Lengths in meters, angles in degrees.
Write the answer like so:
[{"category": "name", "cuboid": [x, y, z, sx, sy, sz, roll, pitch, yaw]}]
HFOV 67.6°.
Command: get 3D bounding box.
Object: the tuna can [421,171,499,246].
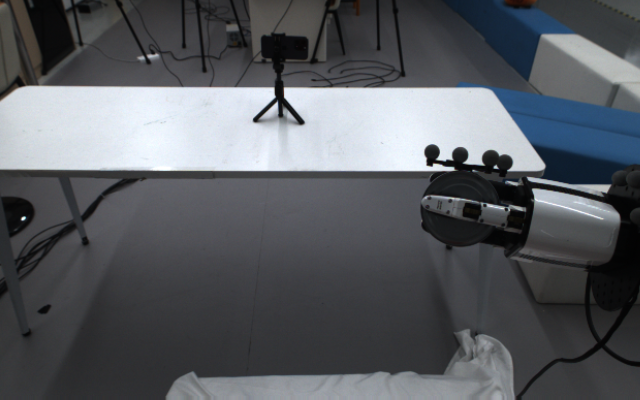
[{"category": "tuna can", "cuboid": [0.161, 0.005, 0.552, 0.085, 0.085, 0.034, 10, 3, 12]}]
